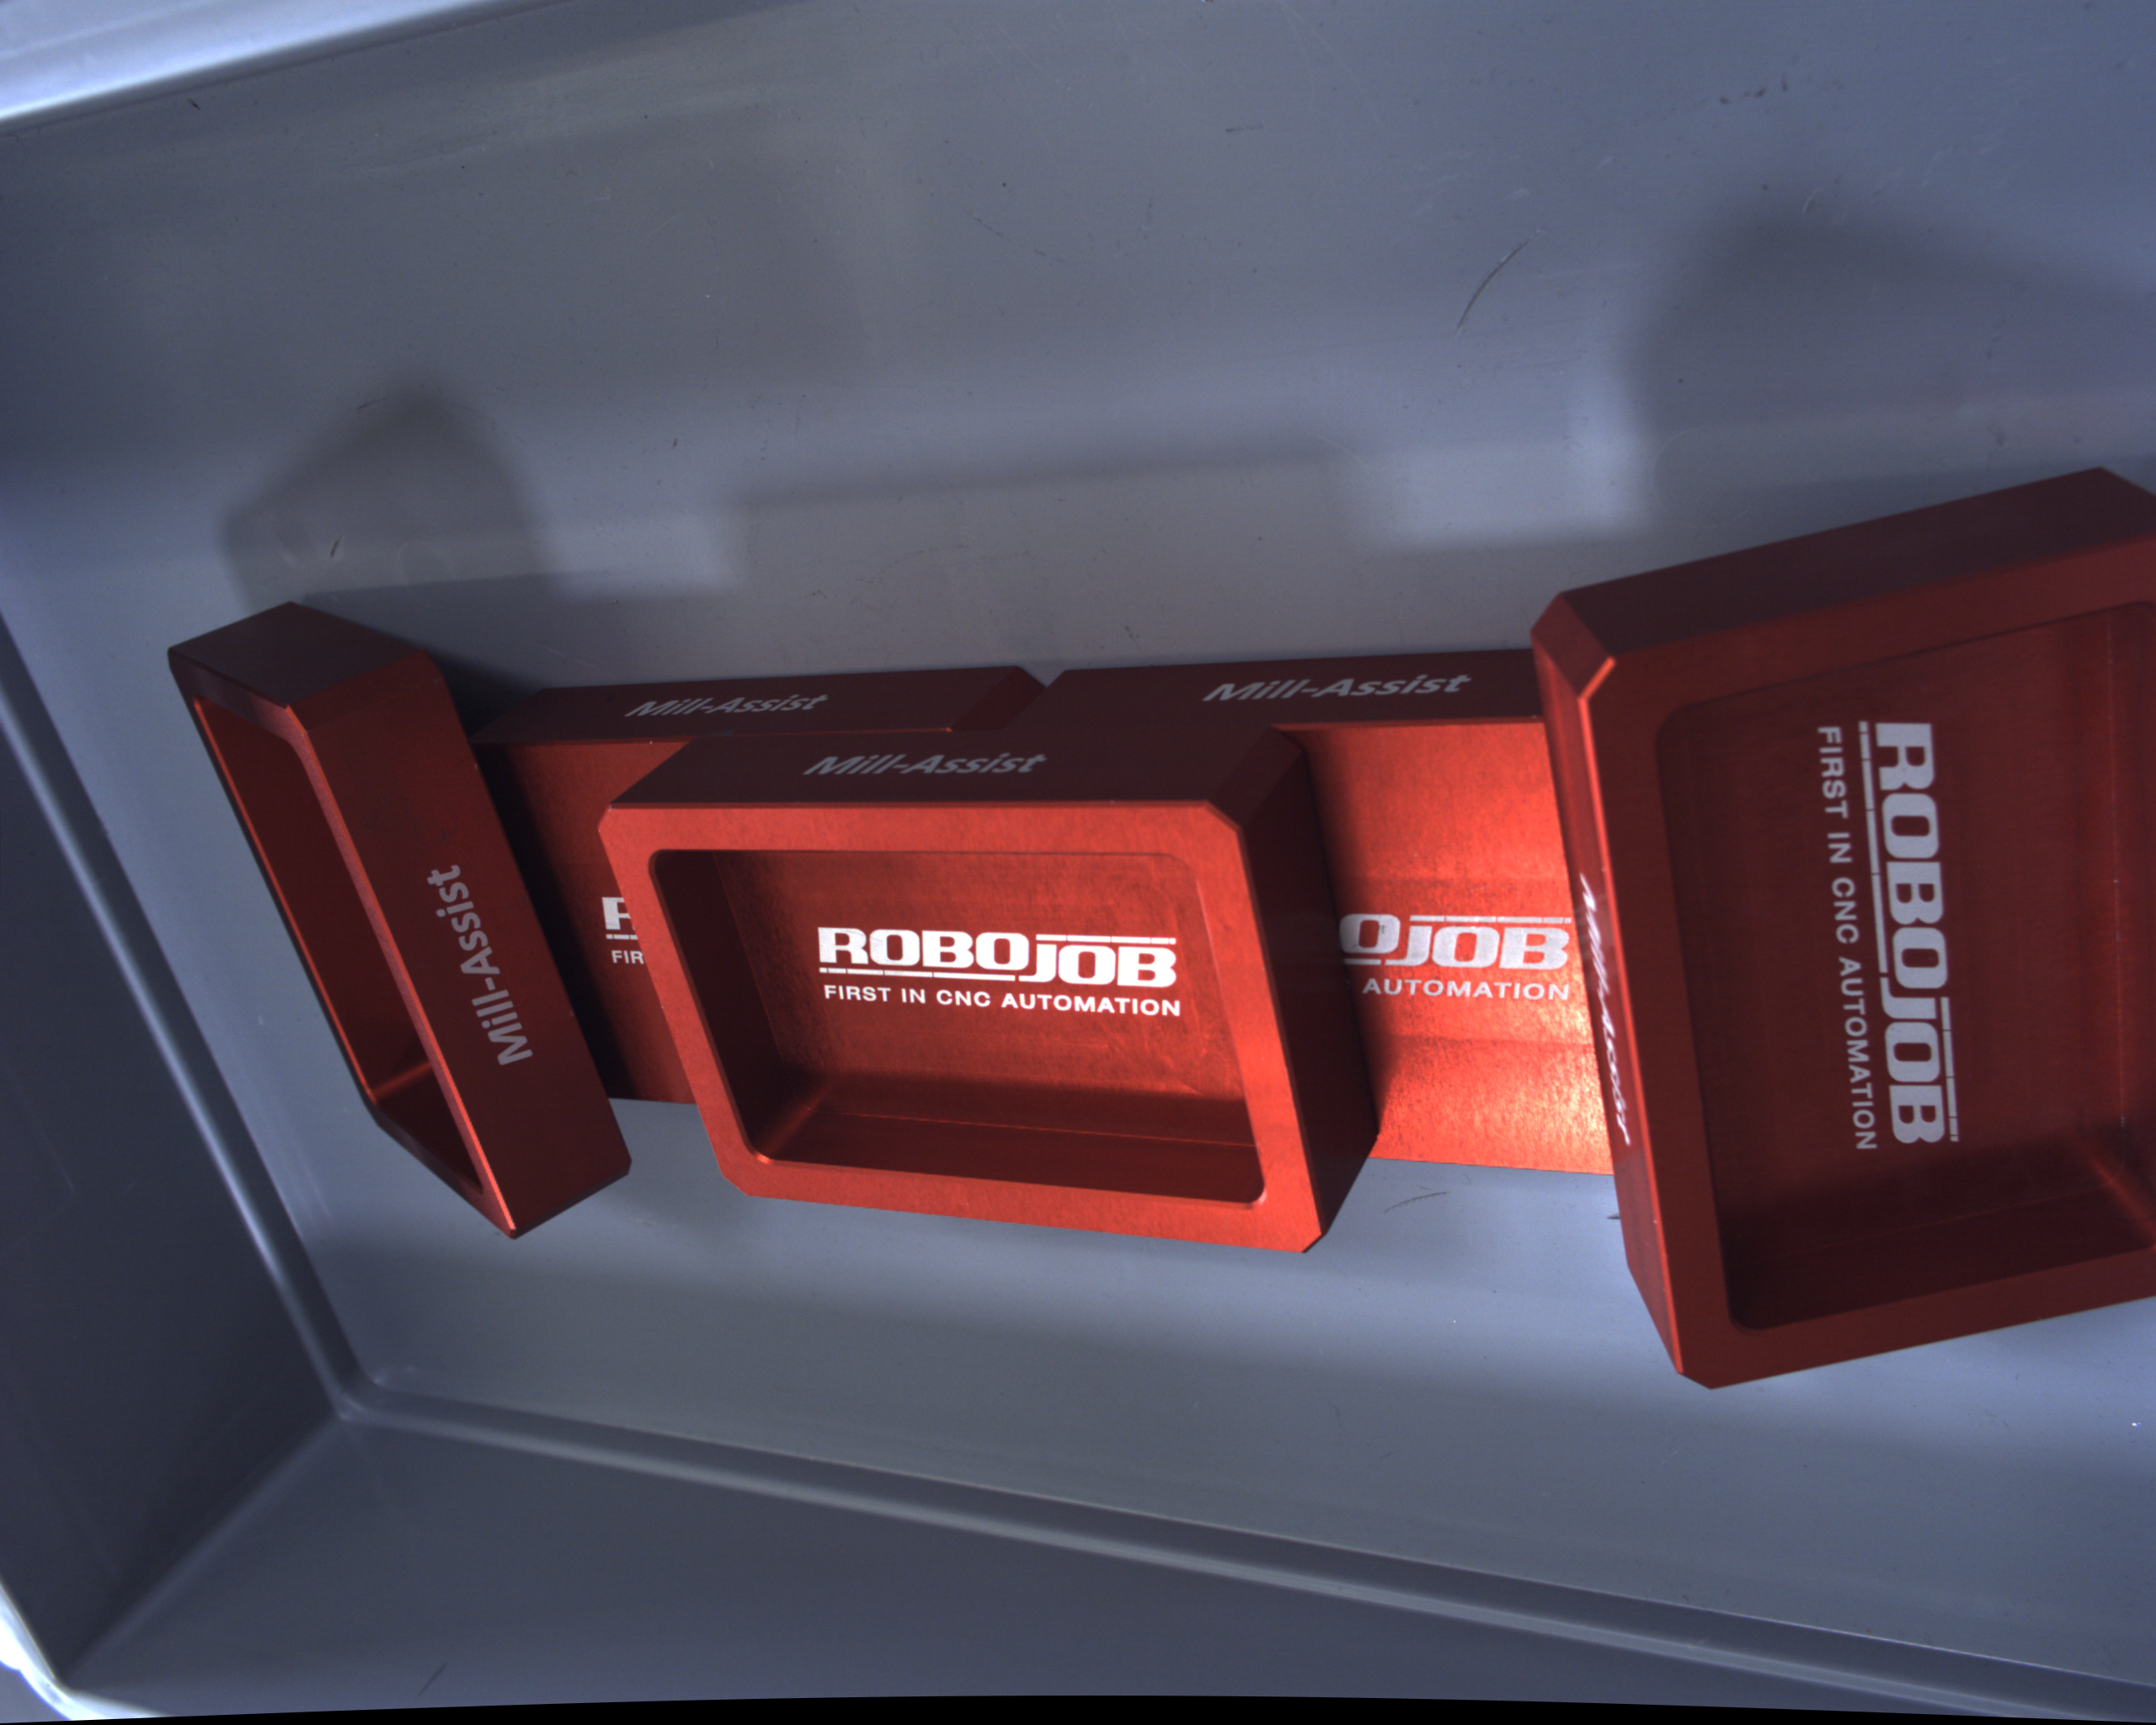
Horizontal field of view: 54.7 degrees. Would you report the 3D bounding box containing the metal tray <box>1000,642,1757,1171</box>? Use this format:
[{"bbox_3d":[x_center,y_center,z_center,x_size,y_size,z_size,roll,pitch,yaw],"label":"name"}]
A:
[{"bbox_3d":[0.055,0.009,0.381,0.130,0.030,0.089,0,119,28],"label":"metal tray"}]

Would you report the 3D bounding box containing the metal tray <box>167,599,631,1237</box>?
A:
[{"bbox_3d":[-0.152,0.011,0.467,0.090,0.030,0.129,19,131,49],"label":"metal tray"}]

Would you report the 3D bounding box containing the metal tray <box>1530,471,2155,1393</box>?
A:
[{"bbox_3d":[0.126,0.014,0.321,0.090,0.030,0.129,-13,115,3],"label":"metal tray"}]

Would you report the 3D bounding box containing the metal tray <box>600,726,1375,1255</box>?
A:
[{"bbox_3d":[-0.017,0.022,0.387,0.130,0.030,0.089,1,118,28],"label":"metal tray"}]

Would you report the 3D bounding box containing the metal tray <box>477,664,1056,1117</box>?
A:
[{"bbox_3d":[-0.061,0.007,0.441,0.130,0.030,0.089,0,119,28],"label":"metal tray"}]
